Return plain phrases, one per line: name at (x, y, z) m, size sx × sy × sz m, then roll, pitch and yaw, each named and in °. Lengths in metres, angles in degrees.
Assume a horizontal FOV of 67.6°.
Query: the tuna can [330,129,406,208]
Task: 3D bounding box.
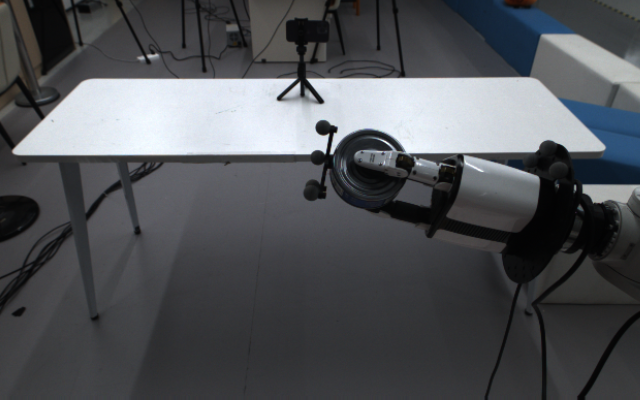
tuna can at (0.058, -0.032, 0.540) m, size 0.085 × 0.034 × 0.085 m, roll 2°, pitch 73°, yaw -5°
